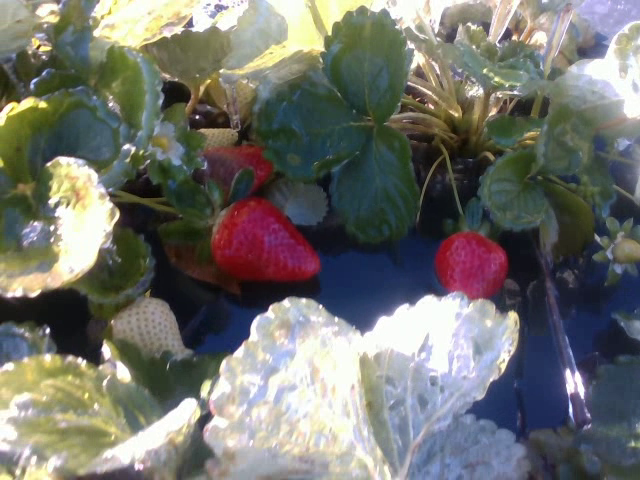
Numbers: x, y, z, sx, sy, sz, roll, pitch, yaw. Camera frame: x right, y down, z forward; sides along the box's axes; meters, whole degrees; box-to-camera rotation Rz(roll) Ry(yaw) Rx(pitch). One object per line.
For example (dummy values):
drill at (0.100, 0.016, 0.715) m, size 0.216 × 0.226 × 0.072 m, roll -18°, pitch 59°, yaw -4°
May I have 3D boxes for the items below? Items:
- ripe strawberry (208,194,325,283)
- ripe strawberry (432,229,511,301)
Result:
ripe strawberry at (-0.023, 0.002, 0.291) m, size 0.056 × 0.044 × 0.040 m, roll 32°, pitch -23°, yaw 2°
ripe strawberry at (0.070, 0.015, 0.289) m, size 0.039 × 0.047 × 0.040 m, roll 22°, pitch -34°, yaw -2°
